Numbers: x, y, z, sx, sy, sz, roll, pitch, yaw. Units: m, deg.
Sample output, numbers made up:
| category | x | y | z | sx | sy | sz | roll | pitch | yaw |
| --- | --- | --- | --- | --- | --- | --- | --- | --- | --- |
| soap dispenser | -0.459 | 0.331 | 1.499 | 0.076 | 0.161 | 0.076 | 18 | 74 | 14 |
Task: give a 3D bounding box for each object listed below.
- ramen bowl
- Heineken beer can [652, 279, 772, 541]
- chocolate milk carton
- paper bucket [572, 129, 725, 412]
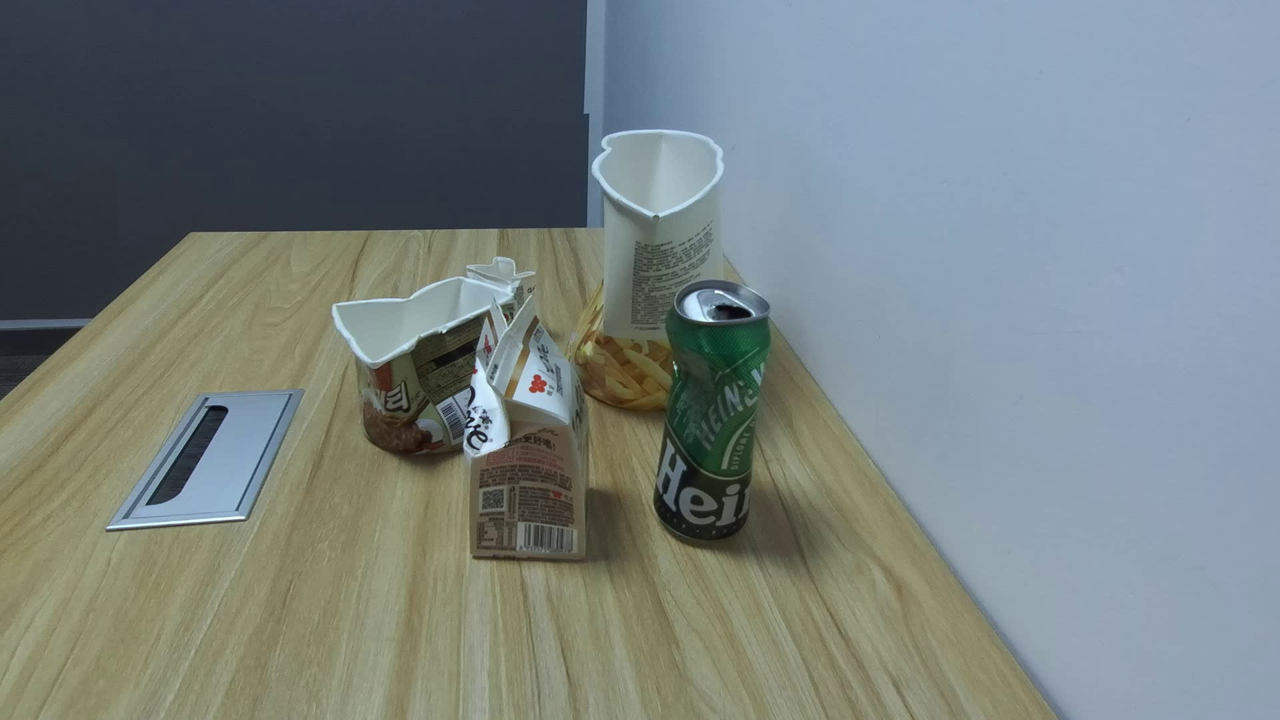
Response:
| category | x | y | z | sx | sy | sz | roll | pitch | yaw |
| --- | --- | --- | --- | --- | --- | --- | --- | --- | --- |
| ramen bowl | -0.160 | 0.003 | 0.556 | 0.129 | 0.093 | 0.111 | -20 | 37 | -32 |
| Heineken beer can | 0.045 | 0.035 | 0.444 | 0.066 | 0.164 | 0.078 | 11 | 32 | 15 |
| chocolate milk carton | -0.069 | 0.040 | 0.434 | 0.073 | 0.156 | 0.076 | 0 | 31 | -1 |
| paper bucket | 0.011 | -0.076 | 0.600 | 0.148 | 0.199 | 0.217 | -13 | 32 | -25 |
